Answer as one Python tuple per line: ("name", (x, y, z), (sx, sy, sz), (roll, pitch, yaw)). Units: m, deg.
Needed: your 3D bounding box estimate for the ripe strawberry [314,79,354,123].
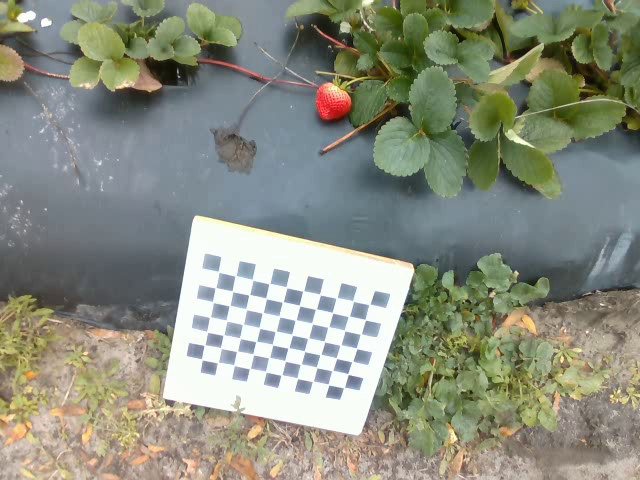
("ripe strawberry", (0.017, -0.211, 0.885), (0.061, 0.065, 0.050), (21, 14, -12))
